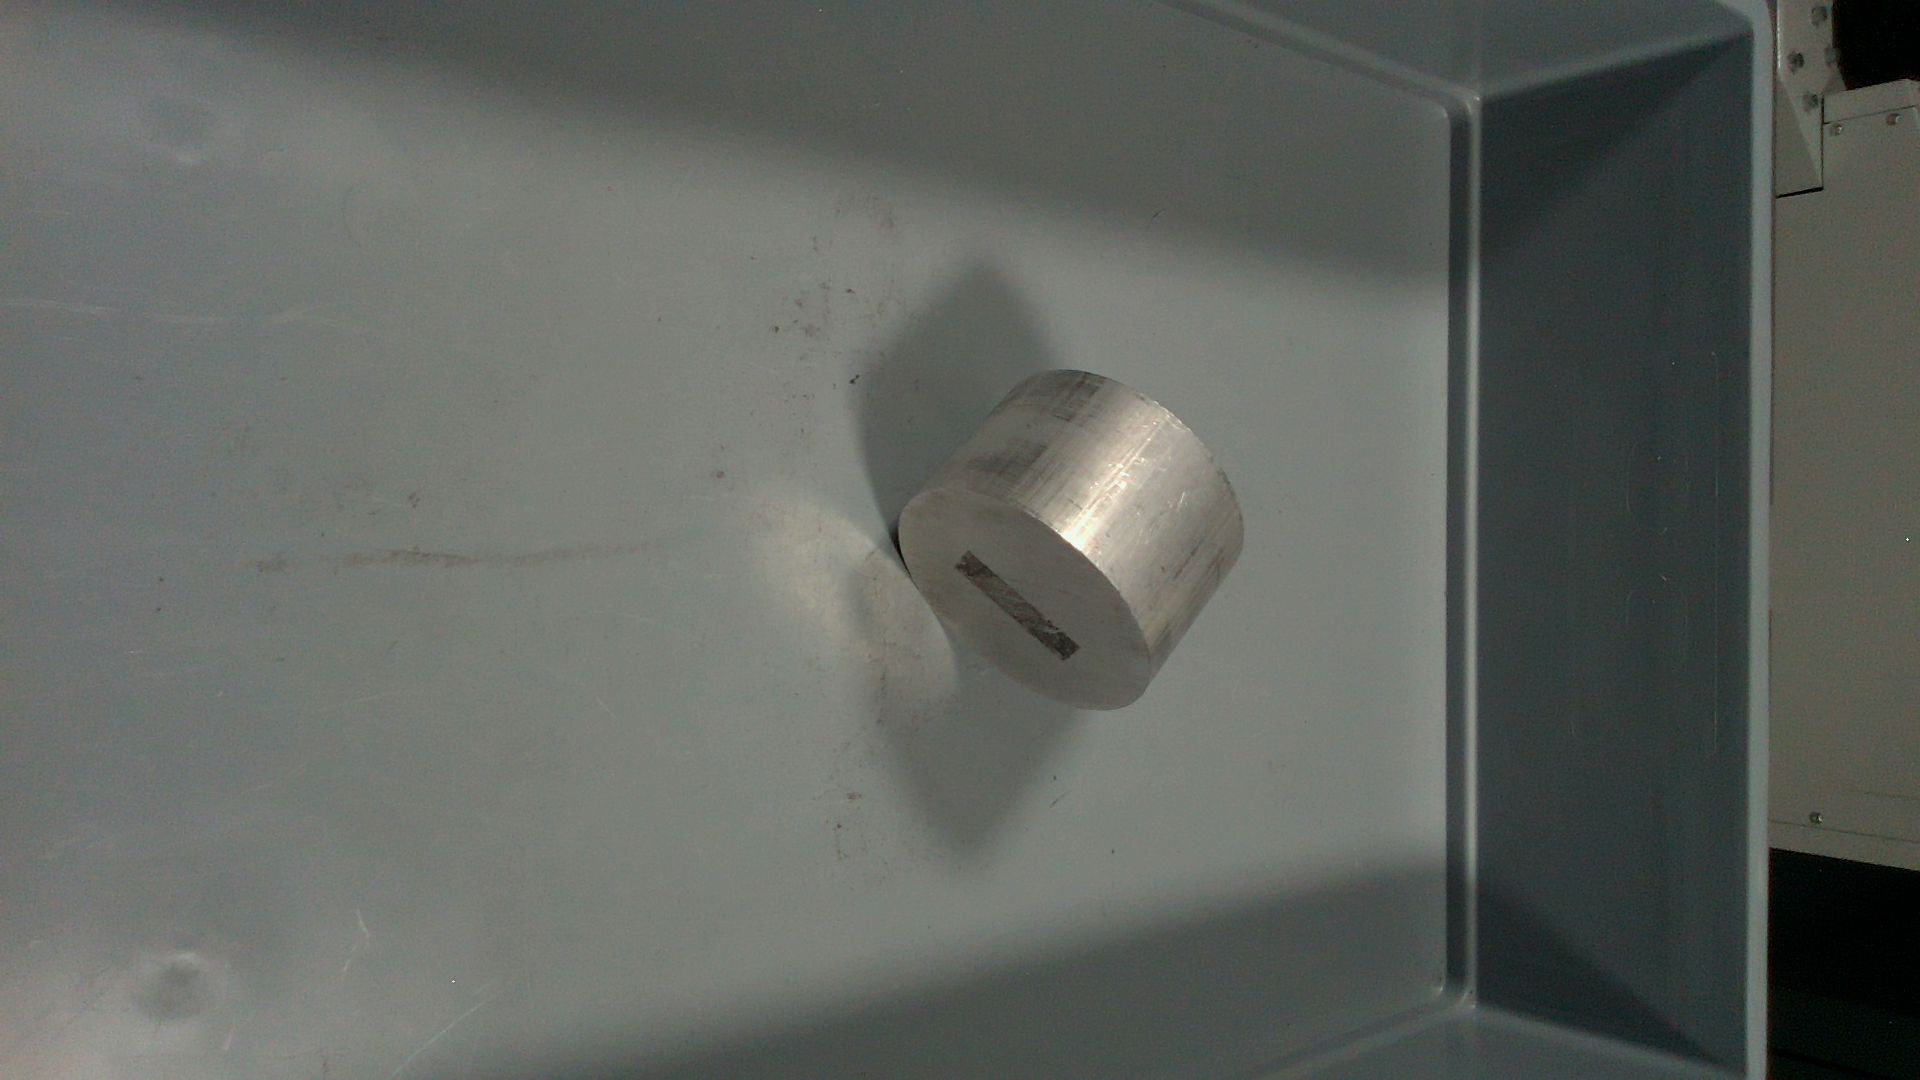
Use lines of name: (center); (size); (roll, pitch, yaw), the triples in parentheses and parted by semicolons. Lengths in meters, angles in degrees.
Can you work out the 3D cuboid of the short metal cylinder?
short metal cylinder: (0.030, 0.000, 0.376); (0.050, 0.080, 0.080); (-49, 119, -29)
